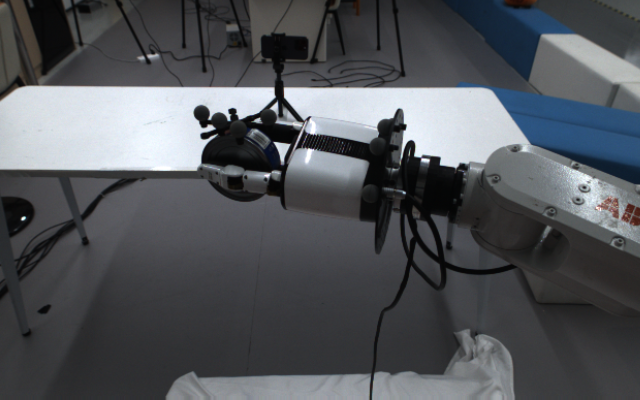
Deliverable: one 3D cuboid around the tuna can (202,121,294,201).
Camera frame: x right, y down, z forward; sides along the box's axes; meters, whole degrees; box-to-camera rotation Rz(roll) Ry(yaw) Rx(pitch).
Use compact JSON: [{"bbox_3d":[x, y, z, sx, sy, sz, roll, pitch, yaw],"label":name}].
[{"bbox_3d":[-0.088,-0.043,0.558,0.085,0.085,0.034,11,34,12],"label":"tuna can"}]
